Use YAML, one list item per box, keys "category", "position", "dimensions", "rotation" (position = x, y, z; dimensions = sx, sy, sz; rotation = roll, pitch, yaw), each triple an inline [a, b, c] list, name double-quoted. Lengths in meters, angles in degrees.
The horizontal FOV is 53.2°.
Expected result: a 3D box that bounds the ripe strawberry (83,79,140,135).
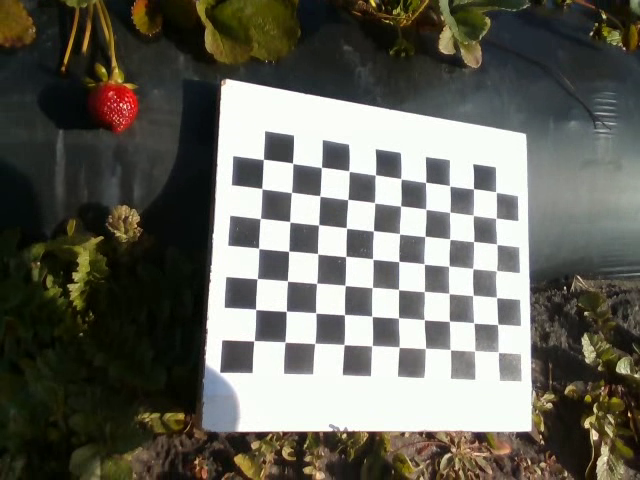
- category: "ripe strawberry"
  position: [-0.144, -0.092, 0.455]
  dimensions: [0.040, 0.044, 0.037]
  rotation: [-15, -17, -21]
